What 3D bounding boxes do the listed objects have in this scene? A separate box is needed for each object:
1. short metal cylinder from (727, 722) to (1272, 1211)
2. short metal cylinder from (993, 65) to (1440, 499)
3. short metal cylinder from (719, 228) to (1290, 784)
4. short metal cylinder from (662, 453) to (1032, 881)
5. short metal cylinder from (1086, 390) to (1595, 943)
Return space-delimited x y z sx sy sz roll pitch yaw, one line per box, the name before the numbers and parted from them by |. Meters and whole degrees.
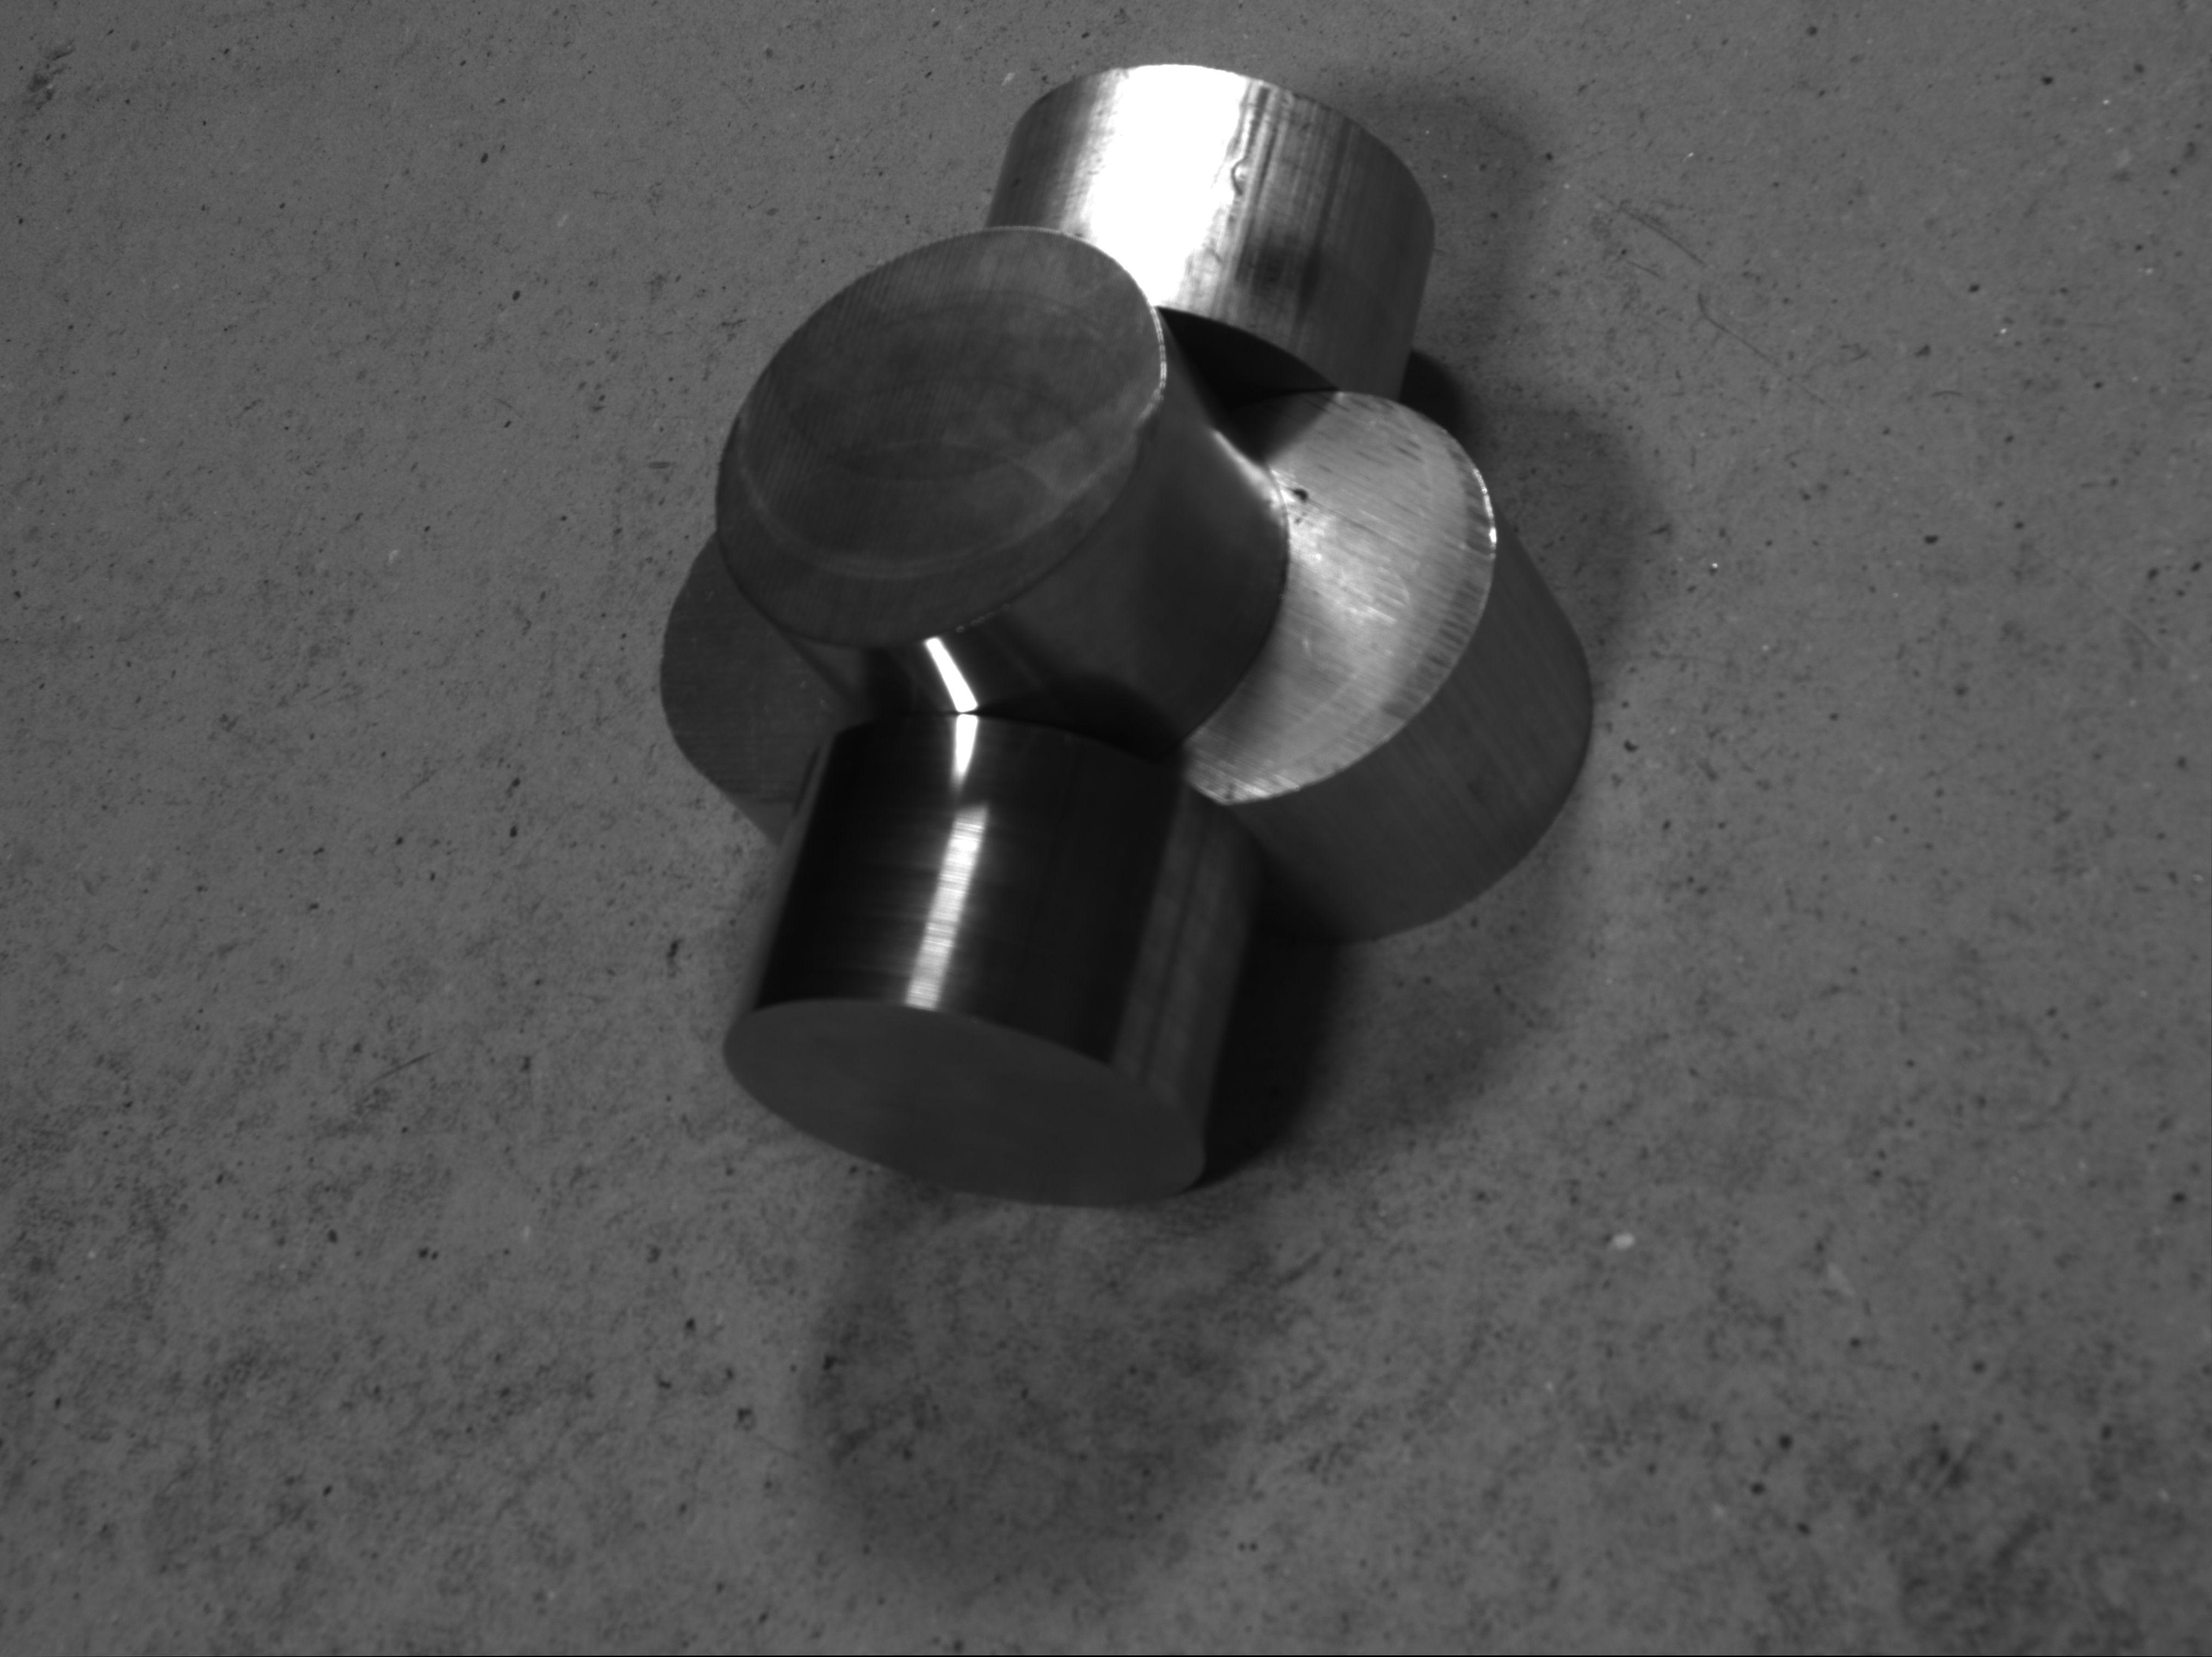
short metal cylinder | -0.017 0.024 0.604 0.080 0.080 0.050 0 62 29
short metal cylinder | 0.016 -0.091 0.657 0.080 0.080 0.050 0 61 28
short metal cylinder | -0.016 -0.051 0.603 0.080 0.050 0.080 -13 56 21
short metal cylinder | -0.033 -0.027 0.662 0.080 0.050 0.080 -13 56 21
short metal cylinder | 0.037 -0.027 0.625 0.080 0.050 0.080 -13 56 21
